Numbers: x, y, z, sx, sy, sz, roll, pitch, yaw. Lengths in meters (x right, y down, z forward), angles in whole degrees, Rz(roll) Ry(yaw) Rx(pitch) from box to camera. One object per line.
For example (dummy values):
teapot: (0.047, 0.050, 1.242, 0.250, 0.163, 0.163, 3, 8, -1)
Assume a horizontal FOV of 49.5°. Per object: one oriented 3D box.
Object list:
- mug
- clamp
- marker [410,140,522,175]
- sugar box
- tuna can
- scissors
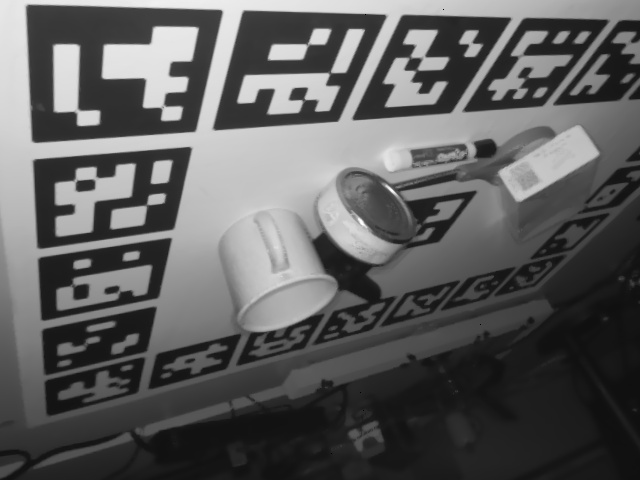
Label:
mug: (-0.018, 0.018, 0.631, 0.093, 0.081, 0.117, -23, 152, -3)
clamp: (0.029, 0.038, 0.753, 0.167, 0.036, 0.200, -14, 146, -17)
marker: (0.141, -0.079, 0.655, 0.123, 0.019, 0.019, -11, 145, -24)
sugar box: (0.267, -0.045, 0.761, 0.092, 0.045, 0.177, -29, 155, 6)
tuna can: (0.052, -0.019, 0.617, 0.087, 0.086, 0.033, 4, 139, -40)
scissors: (0.172, -0.058, 0.705, 0.205, 0.016, 0.086, -13, 151, -17)
